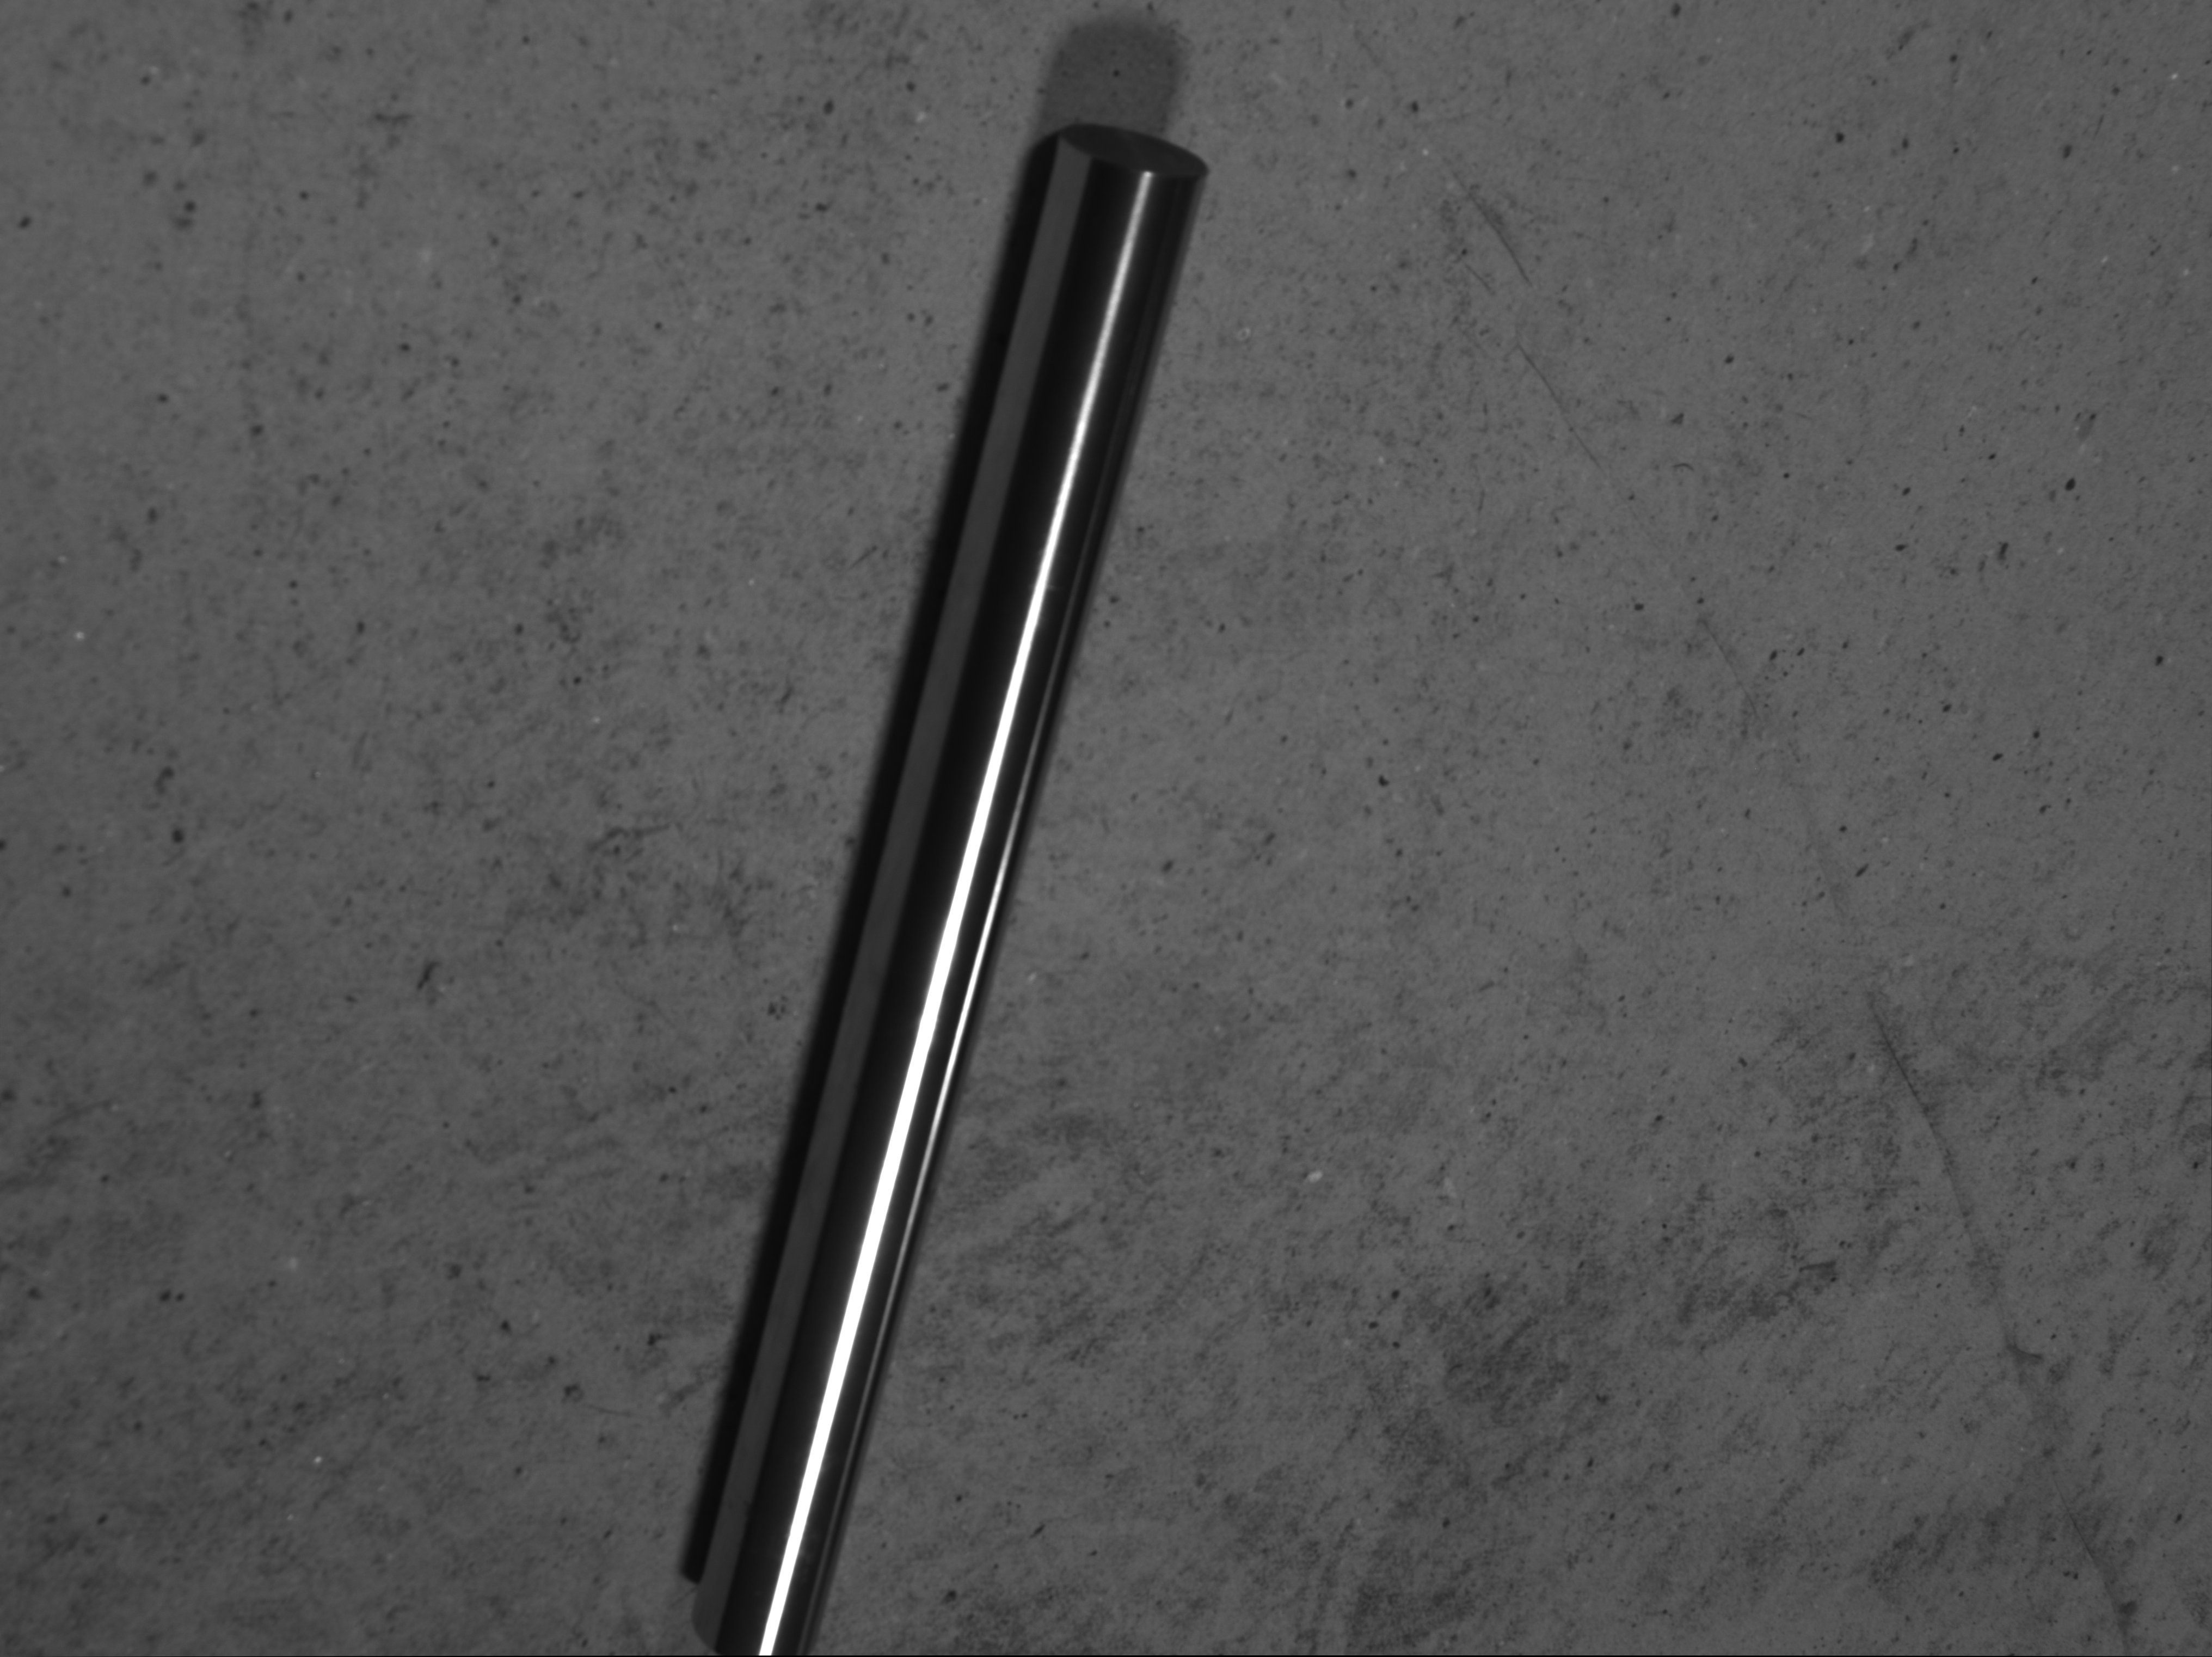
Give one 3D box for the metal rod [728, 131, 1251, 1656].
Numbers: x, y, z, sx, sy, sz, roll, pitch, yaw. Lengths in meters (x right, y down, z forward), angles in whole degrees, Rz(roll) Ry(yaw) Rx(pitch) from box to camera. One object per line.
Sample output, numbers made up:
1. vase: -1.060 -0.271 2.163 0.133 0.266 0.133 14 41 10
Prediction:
1. metal rod: -0.025 0.024 0.651 0.025 0.025 0.300 0 118 -30
